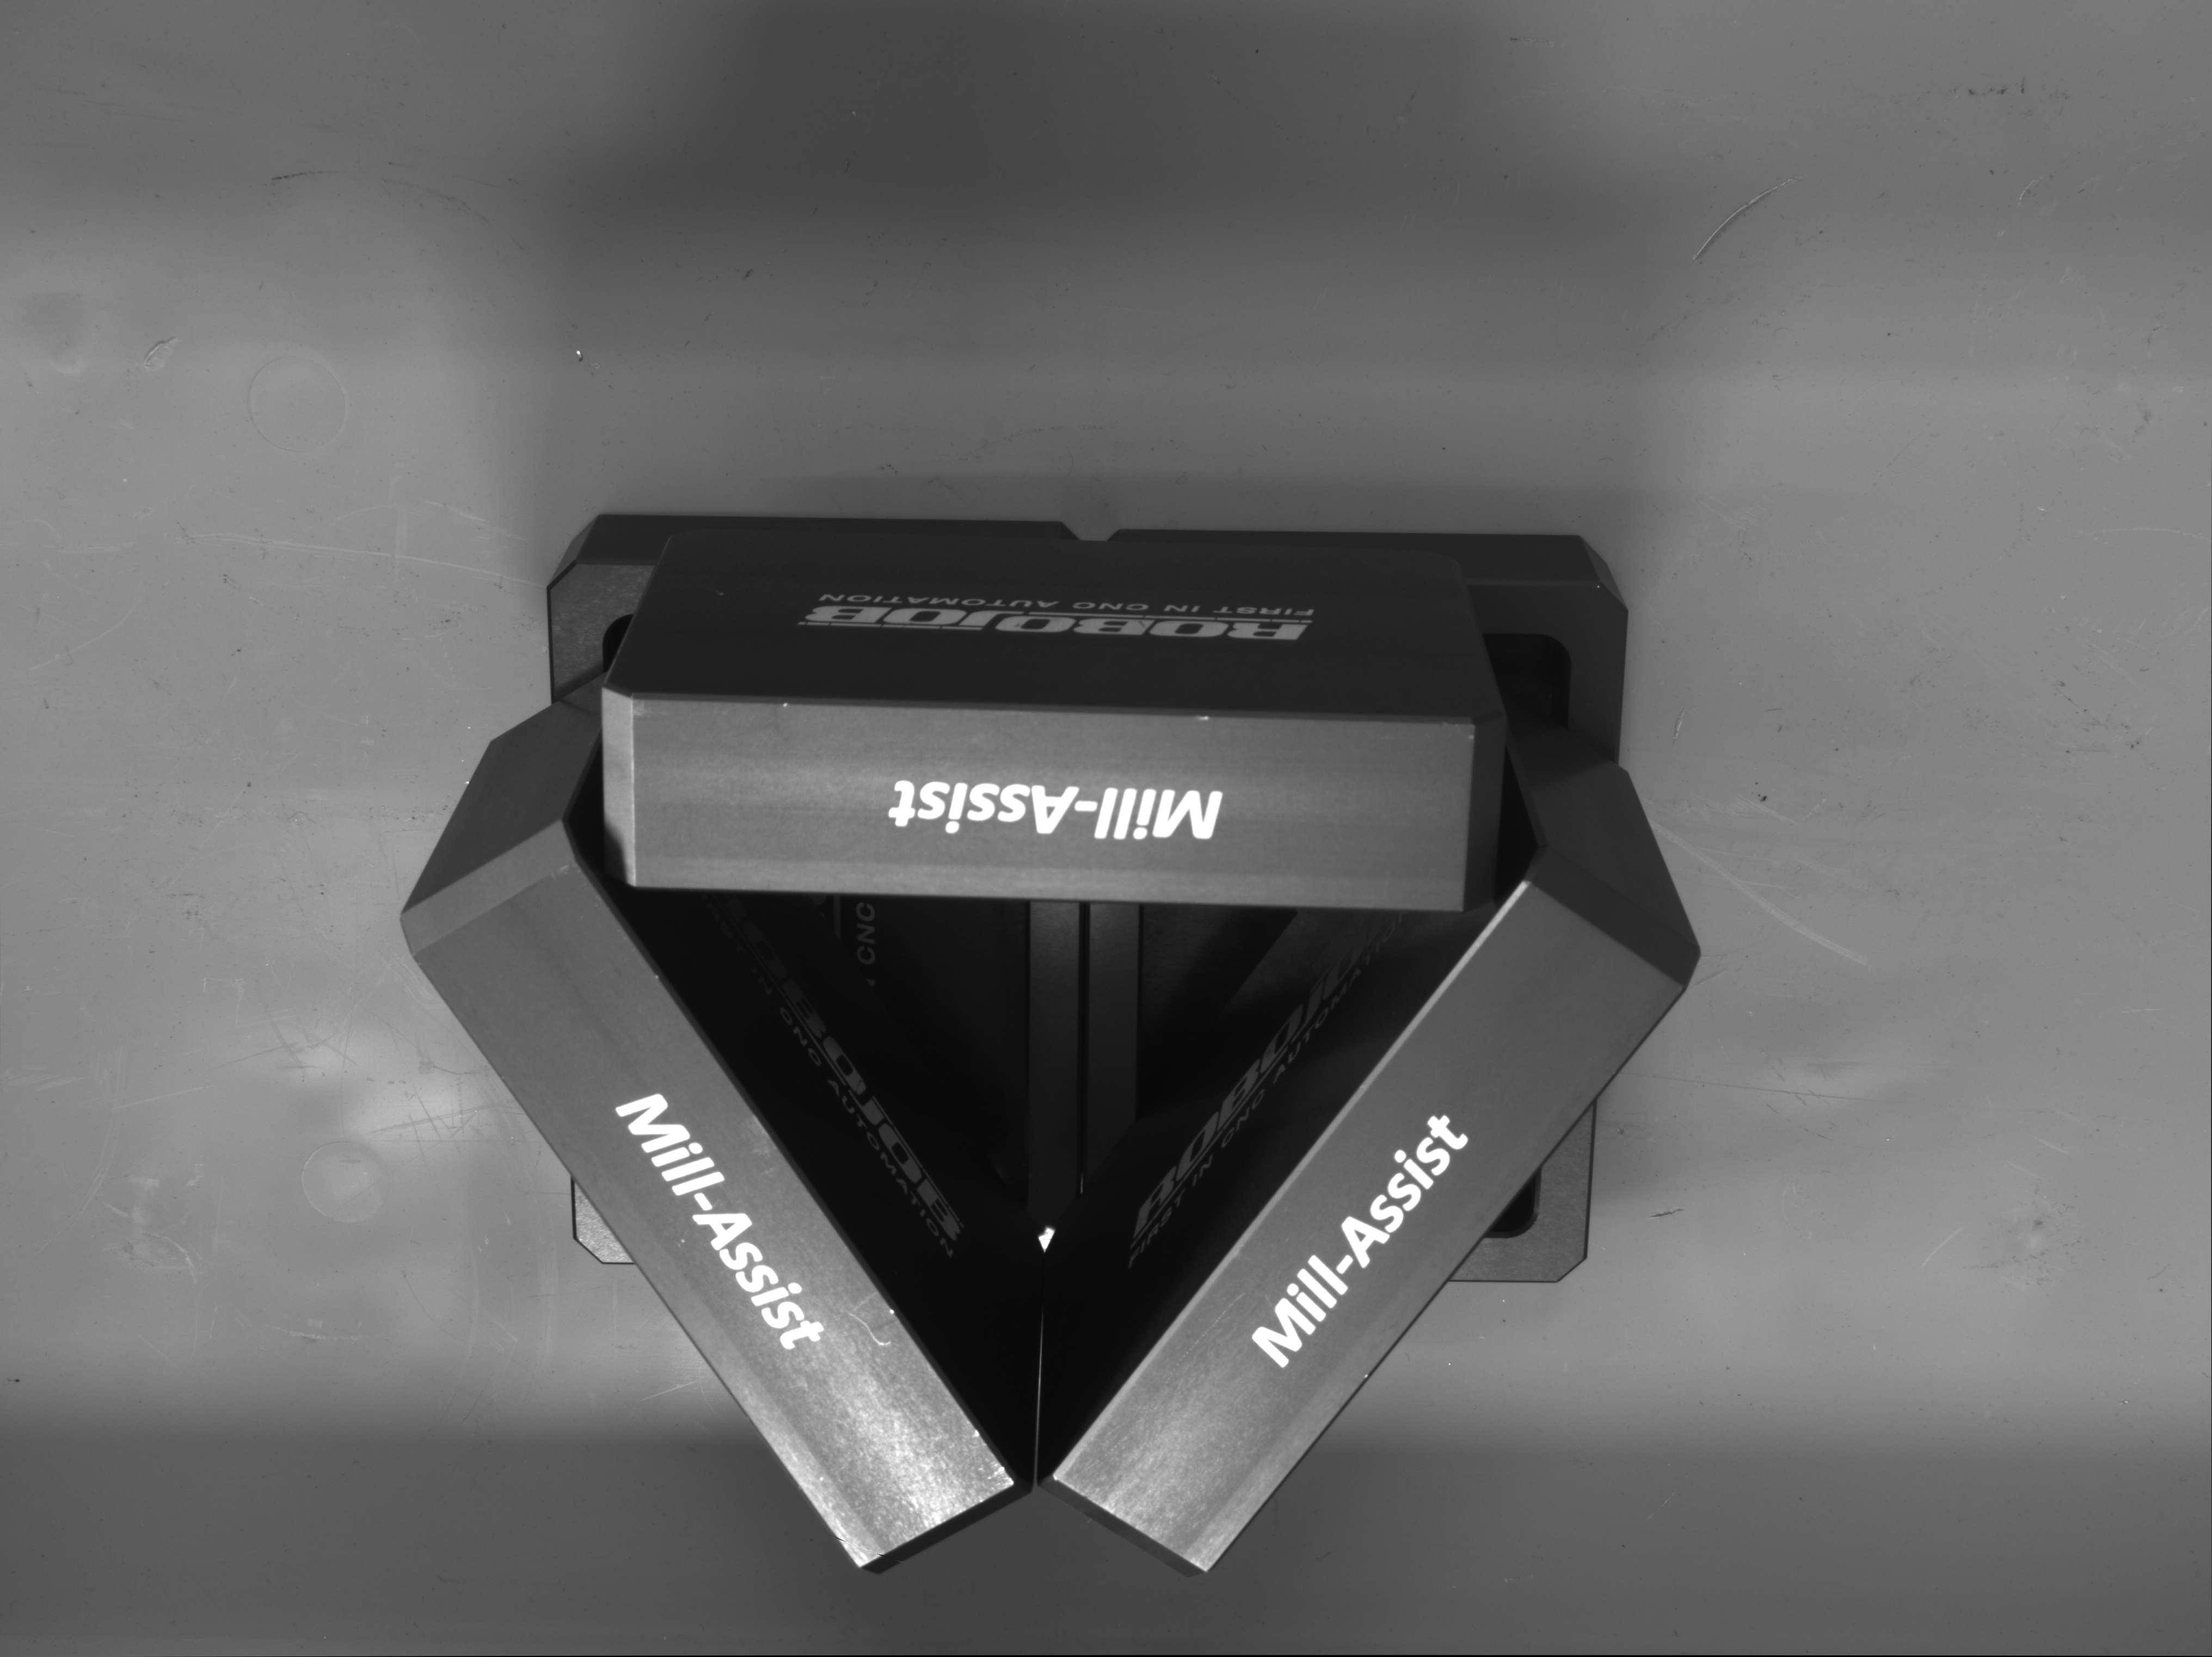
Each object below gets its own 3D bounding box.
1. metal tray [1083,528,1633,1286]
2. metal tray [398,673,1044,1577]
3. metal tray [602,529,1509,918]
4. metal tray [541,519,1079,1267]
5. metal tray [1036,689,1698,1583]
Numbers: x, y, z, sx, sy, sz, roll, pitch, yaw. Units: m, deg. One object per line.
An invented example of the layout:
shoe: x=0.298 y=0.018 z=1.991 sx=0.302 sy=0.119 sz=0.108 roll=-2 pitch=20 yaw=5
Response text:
metal tray: x=0.042 y=0.015 z=0.646 sx=0.090 sy=0.030 sz=0.130 roll=1 pitch=109 yaw=0
metal tray: x=-0.057 y=0.045 z=0.591 sx=0.030 sy=0.090 sz=0.130 roll=-29 pitch=107 yaw=11
metal tray: x=-0.007 y=-0.018 z=0.568 sx=0.130 sy=0.090 sz=0.030 roll=2 pitch=110 yaw=0
metal tray: x=-0.050 y=0.012 z=0.645 sx=0.090 sy=0.030 sz=0.130 roll=0 pitch=109 yaw=0
metal tray: x=0.038 y=0.047 z=0.592 sx=0.030 sy=0.090 sz=0.130 roll=34 pitch=107 yaw=-11
